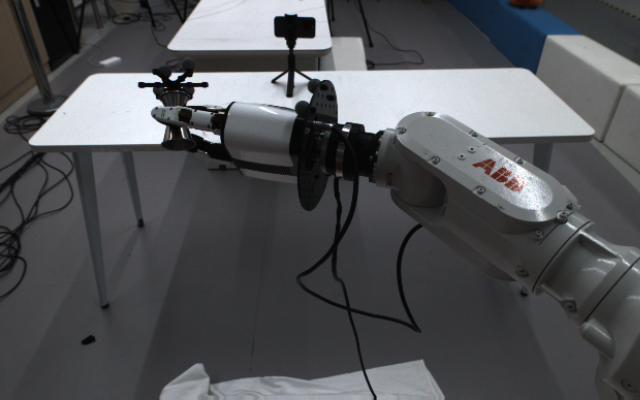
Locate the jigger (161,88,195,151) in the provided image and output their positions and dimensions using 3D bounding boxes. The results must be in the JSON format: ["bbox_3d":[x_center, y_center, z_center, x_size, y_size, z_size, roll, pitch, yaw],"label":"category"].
[{"bbox_3d":[-0.187,-0.102,0.634,0.043,0.043,0.071,-6,78,-12],"label":"jigger"}]
